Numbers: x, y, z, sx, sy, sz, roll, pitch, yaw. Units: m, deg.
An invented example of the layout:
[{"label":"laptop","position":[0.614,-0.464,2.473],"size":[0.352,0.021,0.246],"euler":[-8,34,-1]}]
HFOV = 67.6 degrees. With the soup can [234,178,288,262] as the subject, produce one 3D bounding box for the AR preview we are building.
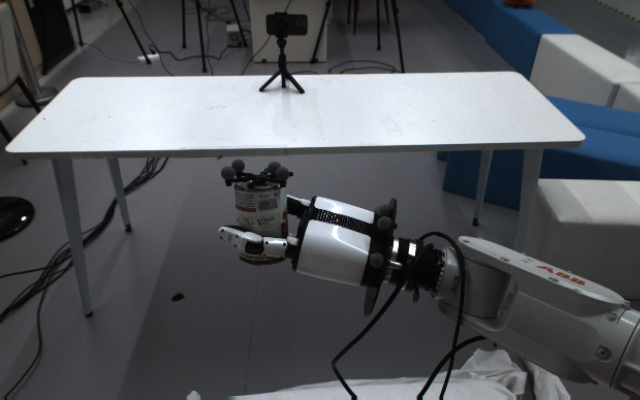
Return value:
[{"label":"soup can","position":[-0.073,0.026,0.628],"size":[0.067,0.101,0.067],"euler":[-2,17,0]}]
